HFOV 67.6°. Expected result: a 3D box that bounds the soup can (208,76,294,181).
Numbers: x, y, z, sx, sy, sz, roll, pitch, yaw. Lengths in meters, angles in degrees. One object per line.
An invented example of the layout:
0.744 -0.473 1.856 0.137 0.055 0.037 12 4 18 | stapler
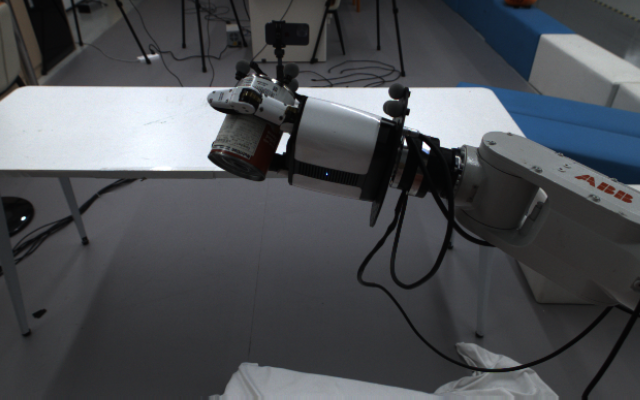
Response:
-0.074 -0.080 0.546 0.067 0.067 0.101 15 75 18 | soup can
